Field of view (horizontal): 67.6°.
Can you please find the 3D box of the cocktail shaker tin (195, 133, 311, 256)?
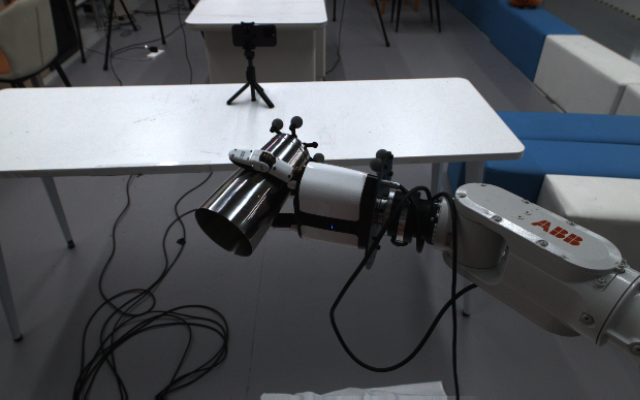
[{"bbox_3d":[-0.082,-0.020,0.671,0.093,0.093,0.170,19,55,23],"label":"cocktail shaker tin"}]
